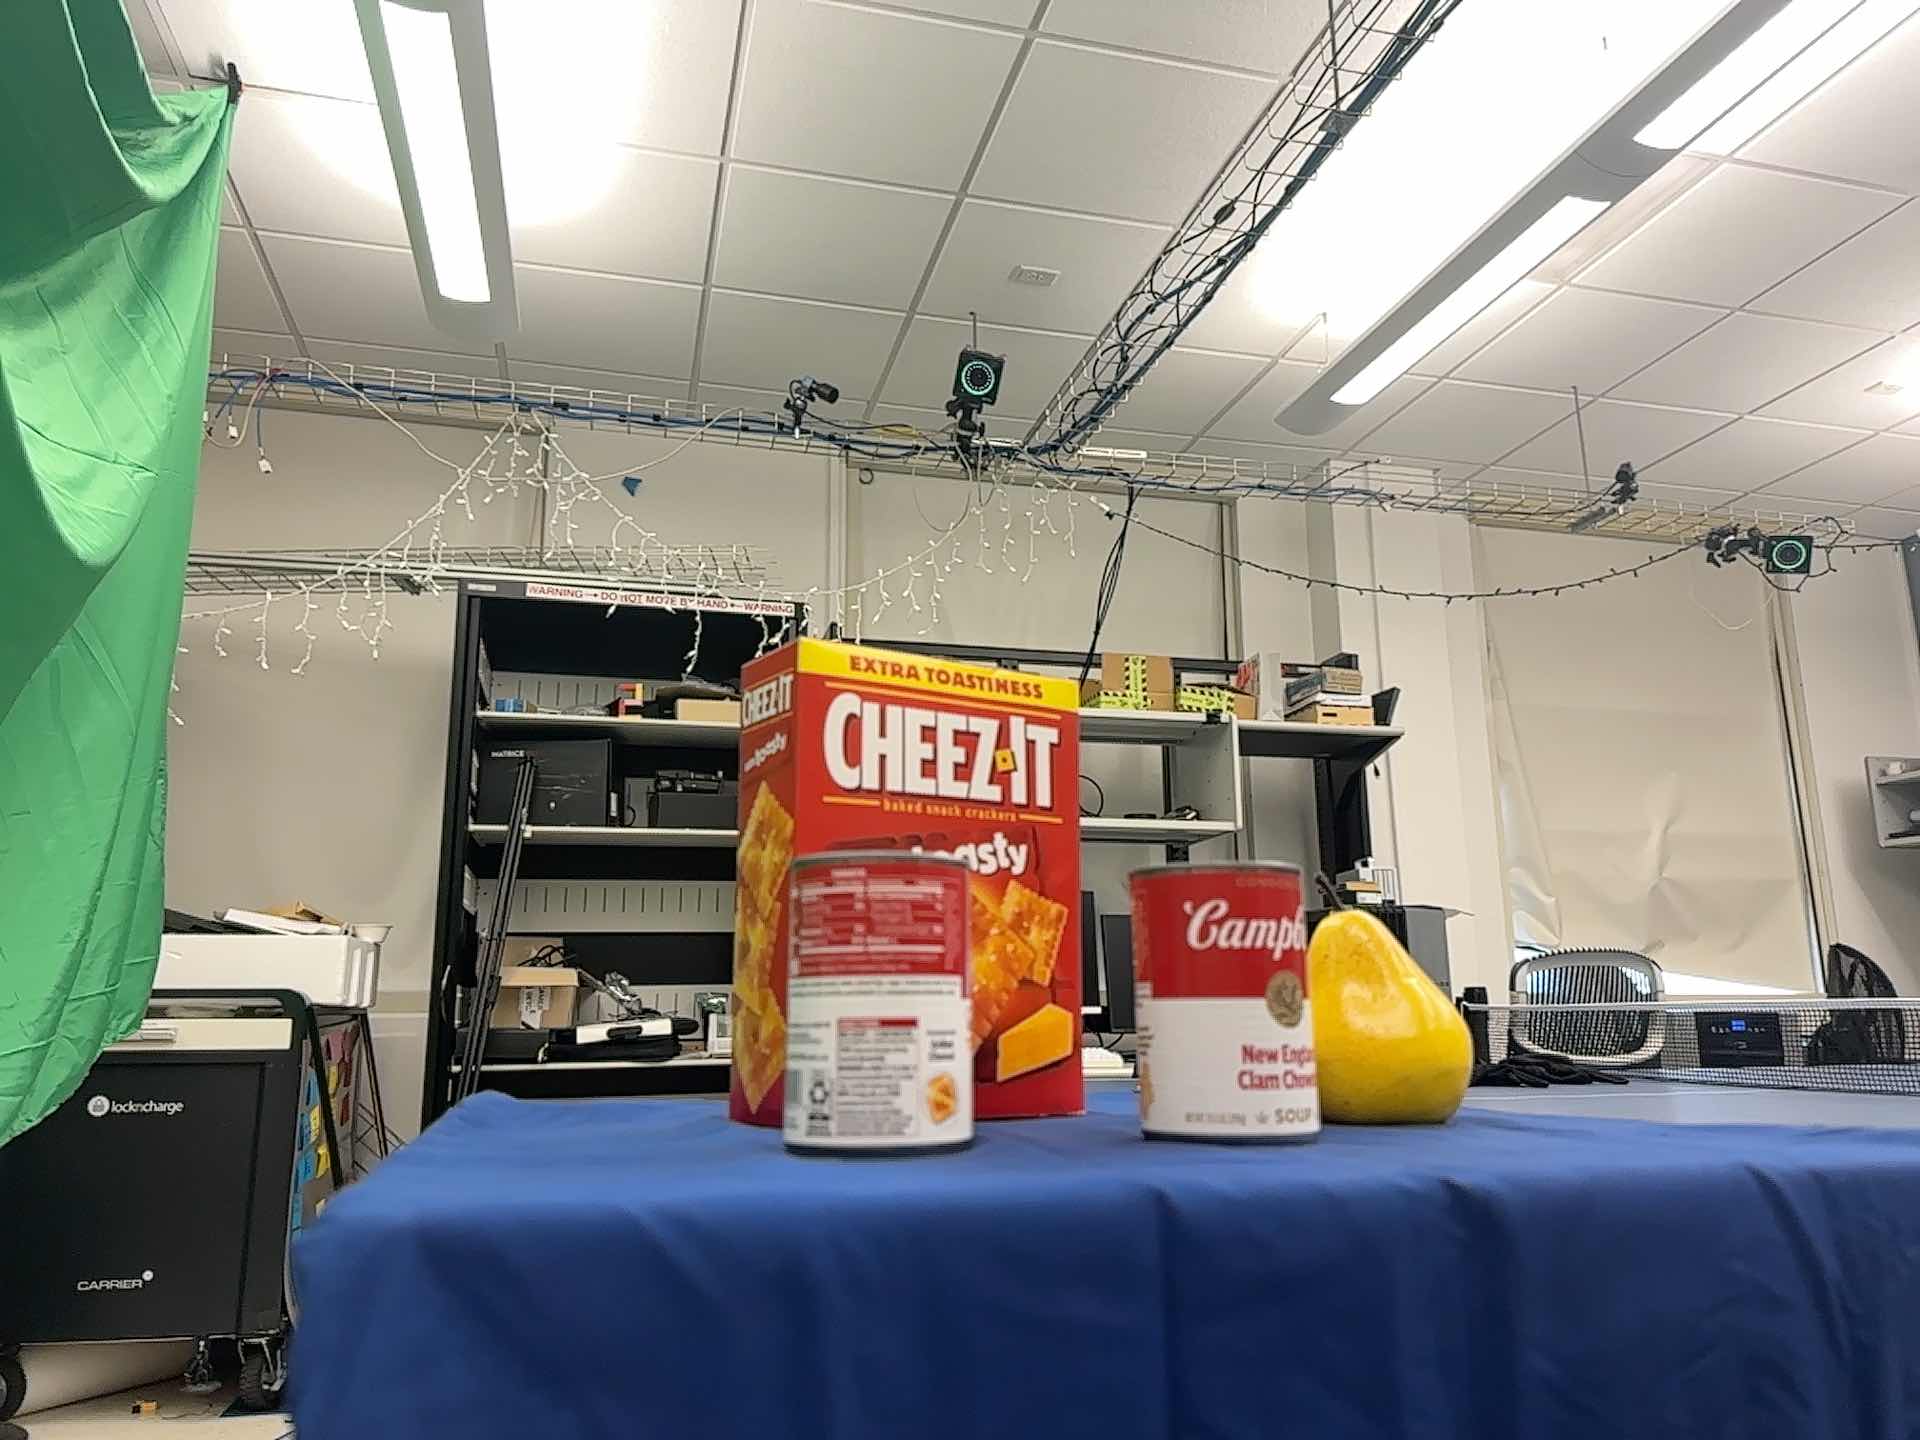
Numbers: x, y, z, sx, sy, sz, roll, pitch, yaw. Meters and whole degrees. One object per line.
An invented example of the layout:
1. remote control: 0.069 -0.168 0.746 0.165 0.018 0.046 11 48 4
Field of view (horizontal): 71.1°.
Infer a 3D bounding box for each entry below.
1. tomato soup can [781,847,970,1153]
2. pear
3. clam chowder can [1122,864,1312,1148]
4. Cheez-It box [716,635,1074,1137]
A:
1. tomato soup can: -0.030 0.100 0.483 0.067 0.102 0.067 -1 -13 0
2. pear: 0.180 0.124 0.598 0.080 0.111 0.080 2 -12 0
3. clam chowder can: 0.099 0.110 0.522 0.068 0.102 0.068 0 -12 0
4. Cheez-It box: -0.027 0.081 0.649 0.159 0.214 0.062 7 -13 -32
